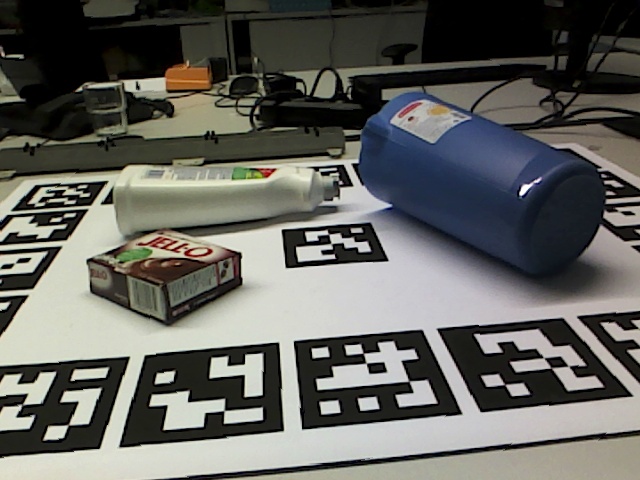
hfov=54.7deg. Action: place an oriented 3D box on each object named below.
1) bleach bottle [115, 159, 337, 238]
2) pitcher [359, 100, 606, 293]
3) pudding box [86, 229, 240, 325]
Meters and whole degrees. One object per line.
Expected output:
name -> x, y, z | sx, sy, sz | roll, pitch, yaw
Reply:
bleach bottle -> -0.104, -0.057, 0.725 | 0.250, 0.068, 0.103 | -4, 30, -8
pitcher -> 0.166, -0.045, 0.640 | 0.187, 0.133, 0.244 | 21, 13, -40
pudding box -> -0.144, 0.030, 0.567 | 0.114, 0.038, 0.089 | 20, 28, 35
